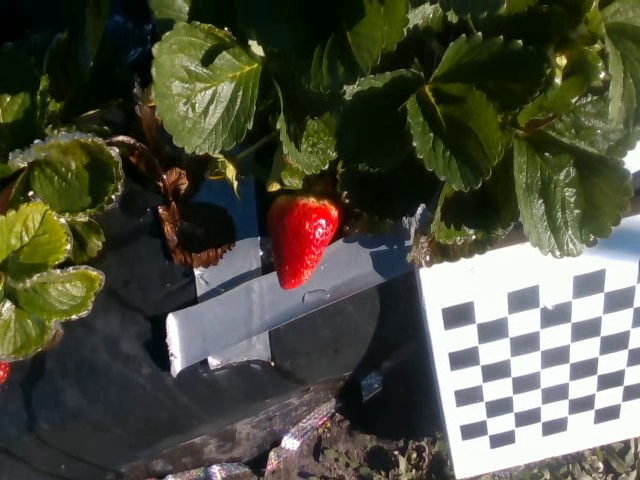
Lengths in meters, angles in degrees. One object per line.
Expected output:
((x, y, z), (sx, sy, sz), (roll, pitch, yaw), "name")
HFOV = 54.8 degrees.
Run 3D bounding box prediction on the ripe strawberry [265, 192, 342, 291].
((-0.010, 0.005, 0.427), (0.061, 0.065, 0.058), (11, -10, -19), "ripe strawberry")
